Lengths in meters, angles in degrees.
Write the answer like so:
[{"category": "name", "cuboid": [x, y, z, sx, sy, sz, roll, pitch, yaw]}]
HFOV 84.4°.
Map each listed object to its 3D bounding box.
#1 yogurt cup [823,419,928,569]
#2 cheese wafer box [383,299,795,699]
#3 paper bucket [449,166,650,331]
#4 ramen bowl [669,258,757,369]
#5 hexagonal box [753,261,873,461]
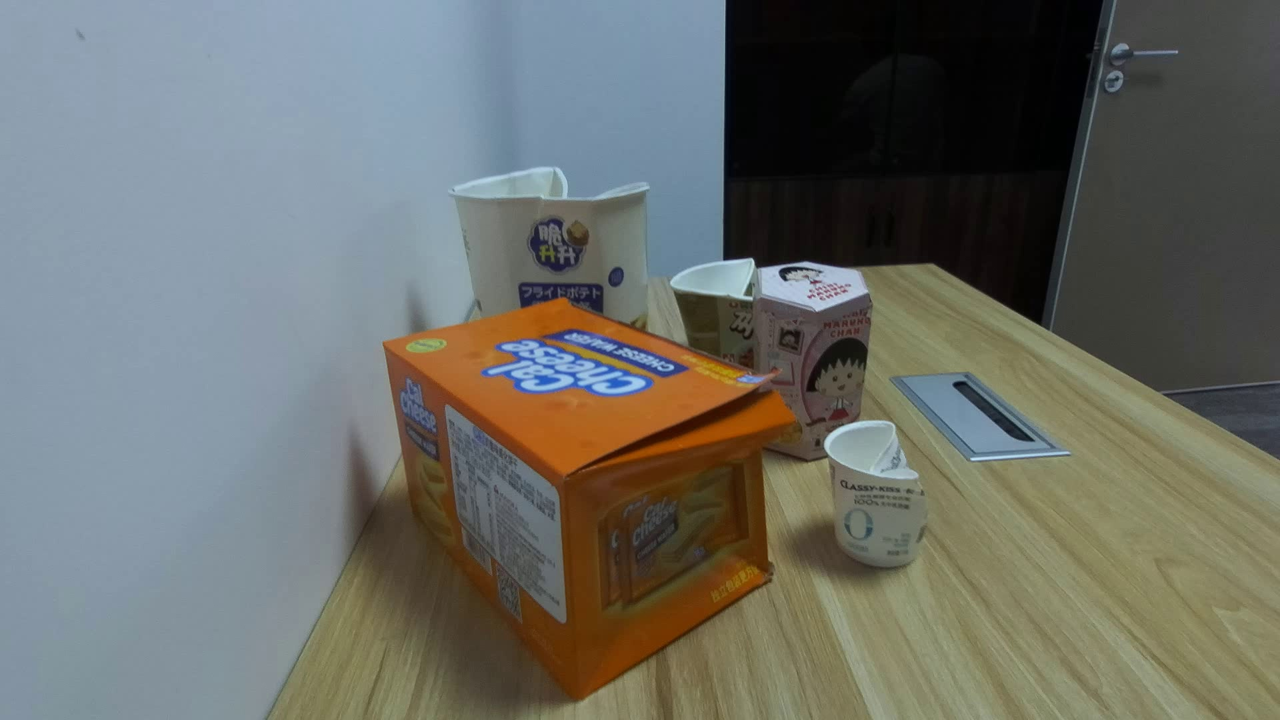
[{"category": "yogurt cup", "cuboid": [0.146, 0.084, 0.438, 0.067, 0.070, 0.067, -2, 25, 1]}, {"category": "cheese wafer box", "cuboid": [-0.039, 0.057, 0.439, 0.150, 0.137, 0.226, -18, 27, -35]}, {"category": "paper bucket", "cuboid": [-0.060, -0.067, 0.656, 0.162, 0.202, 0.169, 14, 29, 28]}, {"category": "ramen bowl", "cuboid": [0.101, -0.040, 0.708, 0.137, 0.098, 0.137, -2, 21, 1]}, {"category": "hexagonal box", "cuboid": [0.132, -0.001, 0.559, 0.092, 0.135, 0.084, -11, 25, -20]}]
